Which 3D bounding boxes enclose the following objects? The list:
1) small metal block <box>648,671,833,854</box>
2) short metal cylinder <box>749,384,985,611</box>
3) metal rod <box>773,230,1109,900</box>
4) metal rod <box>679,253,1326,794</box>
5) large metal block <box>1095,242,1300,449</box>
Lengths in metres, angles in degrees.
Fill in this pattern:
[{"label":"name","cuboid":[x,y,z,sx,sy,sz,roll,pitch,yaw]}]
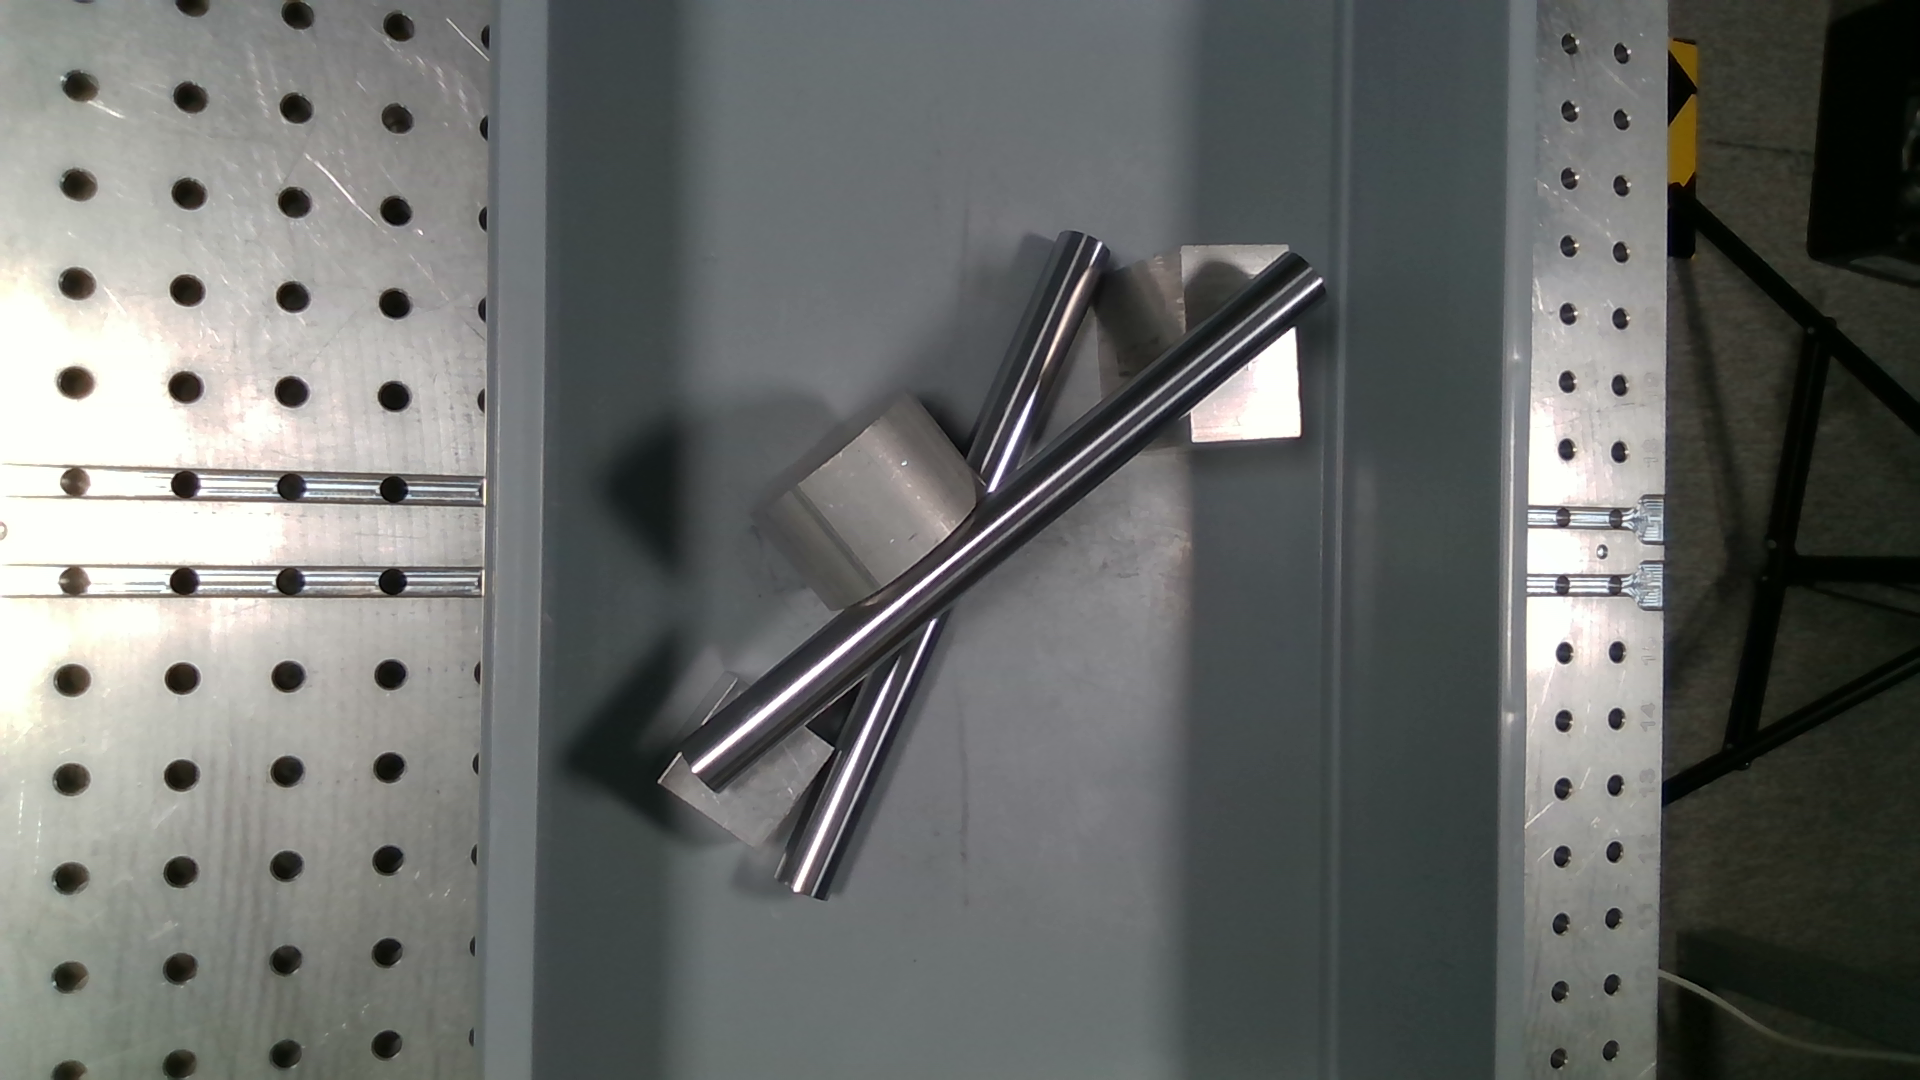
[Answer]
[{"label":"small metal block","cuboid":[-0.088,0.089,0.553,0.050,0.025,0.050,40,77,-16]},{"label":"short metal cylinder","cuboid":[-0.037,-0.017,0.541,0.080,0.080,0.050,-42,103,-15]},{"label":"metal rod","cuboid":[-0.005,0.006,0.583,0.025,0.025,0.300,26,81,-18]},{"label":"metal rod","cuboid":[0.018,-0.008,0.529,0.300,0.025,0.025,-39,103,-3]},{"label":"large metal block","cuboid":[0.100,-0.080,0.593,0.050,0.080,0.080,-4,91,-20]}]
